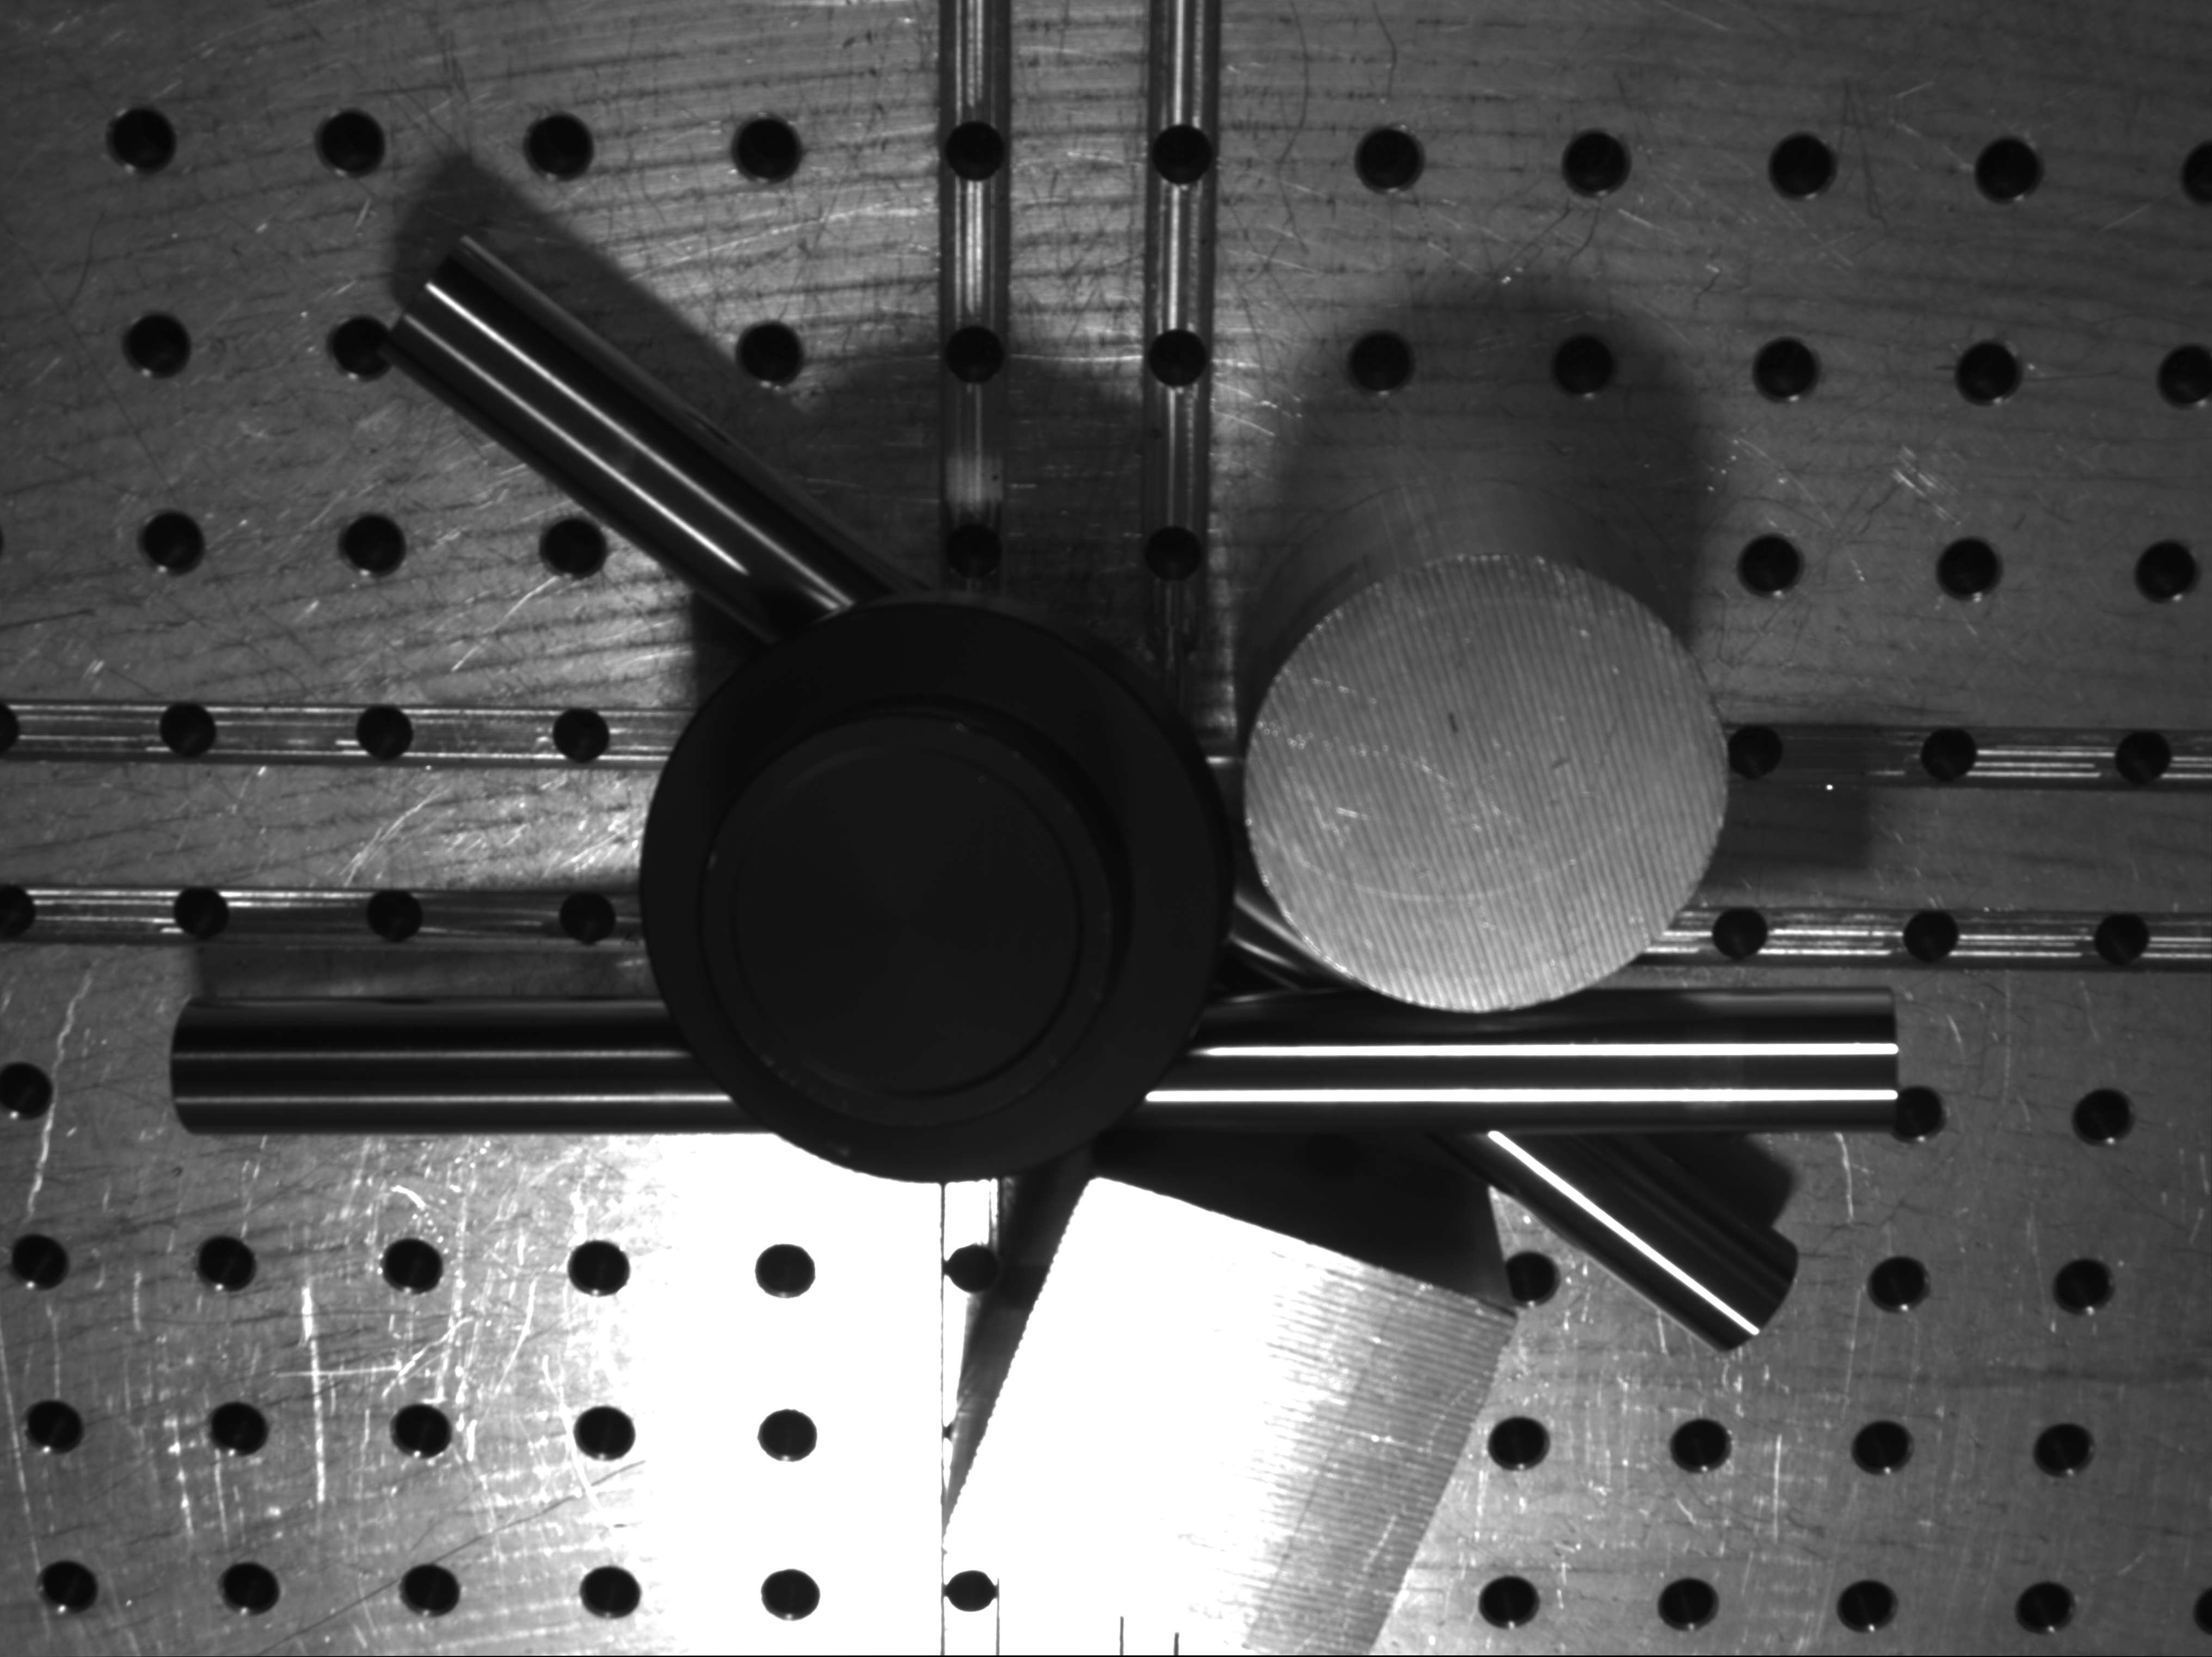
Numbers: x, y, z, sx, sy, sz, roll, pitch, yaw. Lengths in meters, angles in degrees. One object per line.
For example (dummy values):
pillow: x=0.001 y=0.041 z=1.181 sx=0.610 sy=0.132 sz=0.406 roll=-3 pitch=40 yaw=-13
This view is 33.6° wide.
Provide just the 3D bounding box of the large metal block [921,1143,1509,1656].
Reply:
large metal block: x=0.018 y=0.098 z=0.666 sx=0.080 sy=0.050 sz=0.080 roll=19 pitch=109 yaw=-7

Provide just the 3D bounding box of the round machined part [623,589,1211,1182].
round machined part: x=-0.032 y=0.012 z=0.605 sx=0.098 sy=0.042 sz=0.098 roll=1 pitch=101 yaw=5

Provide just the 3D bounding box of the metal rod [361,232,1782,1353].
metal rod: x=0.000 y=-0.002 z=0.645 sx=0.300 sy=0.025 sz=0.025 roll=37 pitch=105 yaw=-13

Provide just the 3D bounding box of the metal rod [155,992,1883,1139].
metal rod: x=-0.018 y=0.041 z=0.641 sx=0.300 sy=0.025 sz=0.025 roll=0 pitch=110 yaw=7

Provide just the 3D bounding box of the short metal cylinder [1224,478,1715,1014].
short metal cylinder: x=0.060 y=-0.015 z=0.627 sx=0.080 sy=0.050 sz=0.080 roll=0 pitch=110 yaw=-1
